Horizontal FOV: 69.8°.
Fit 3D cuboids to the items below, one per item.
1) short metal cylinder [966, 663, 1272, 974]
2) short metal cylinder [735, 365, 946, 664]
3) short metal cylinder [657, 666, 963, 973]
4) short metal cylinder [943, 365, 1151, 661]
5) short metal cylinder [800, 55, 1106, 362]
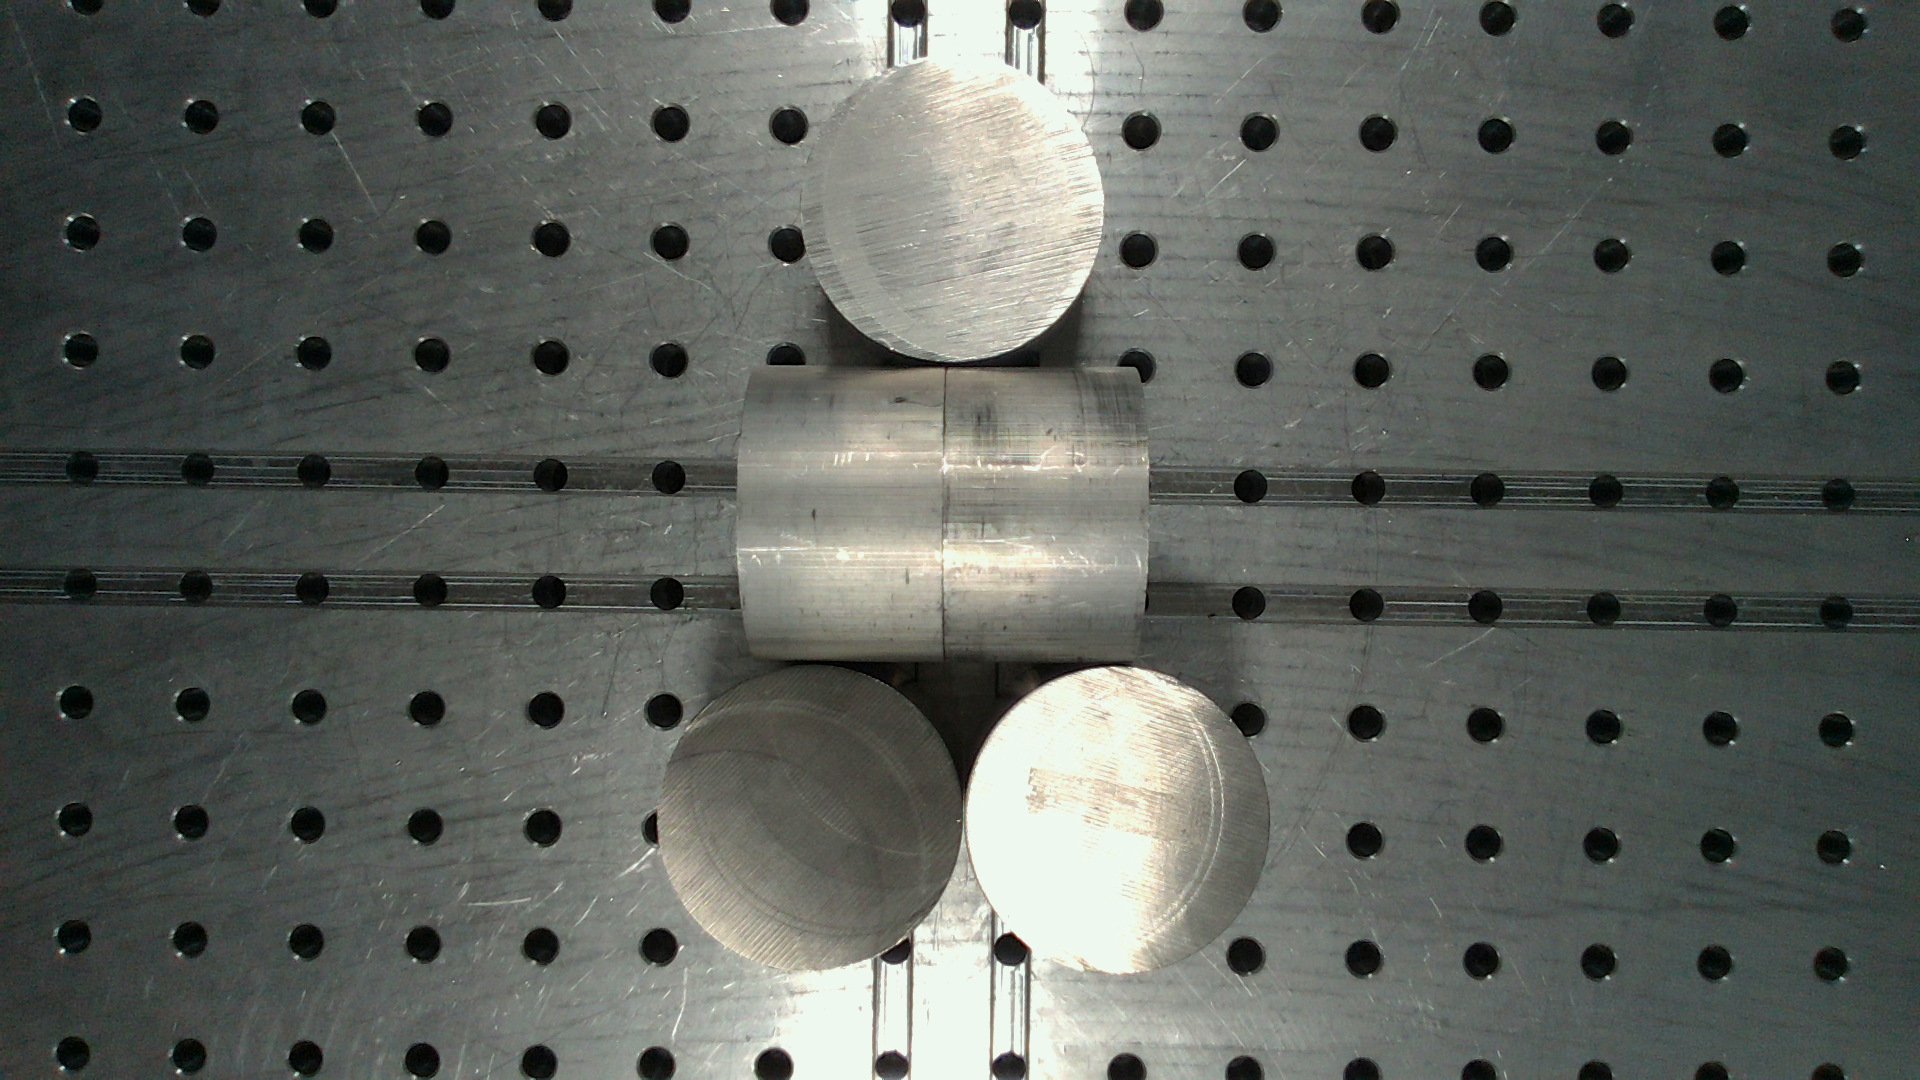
[{"bbox_3d":[0.042,0.073,0.384,0.080,0.050,0.080,0,90,0],"label":"short metal cylinder"},{"bbox_3d":[-0.029,-0.007,0.370,0.050,0.080,0.080,0,90,0],"label":"short metal cylinder"},{"bbox_3d":[-0.039,0.073,0.384,0.080,0.050,0.080,0,90,0],"label":"short metal cylinder"},{"bbox_3d":[0.021,-0.007,0.371,0.050,0.080,0.080,0,90,0],"label":"short metal cylinder"},{"bbox_3d":[-0.002,-0.087,0.385,0.080,0.050,0.080,0,90,0],"label":"short metal cylinder"}]
